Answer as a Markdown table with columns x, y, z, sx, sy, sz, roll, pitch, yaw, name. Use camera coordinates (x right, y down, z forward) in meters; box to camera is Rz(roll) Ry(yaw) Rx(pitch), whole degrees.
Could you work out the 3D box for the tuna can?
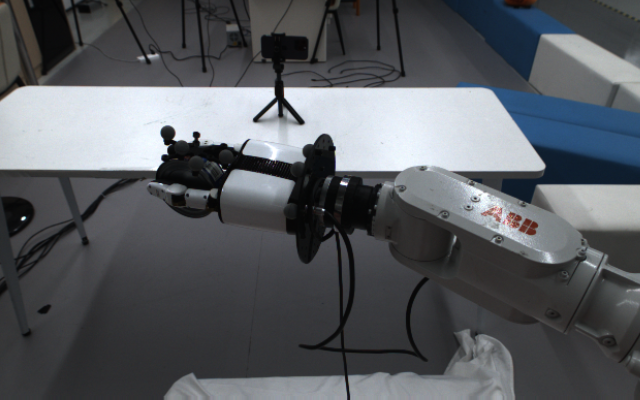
| x | y | z | sx | sy | sz | roll | pitch | yaw | name |
| --- | --- | --- | --- | --- | --- | --- | --- | --- | --- |
| -0.162 | -0.021 | 0.619 | 0.085 | 0.085 | 0.034 | 12 | 33 | 14 | tuna can |
